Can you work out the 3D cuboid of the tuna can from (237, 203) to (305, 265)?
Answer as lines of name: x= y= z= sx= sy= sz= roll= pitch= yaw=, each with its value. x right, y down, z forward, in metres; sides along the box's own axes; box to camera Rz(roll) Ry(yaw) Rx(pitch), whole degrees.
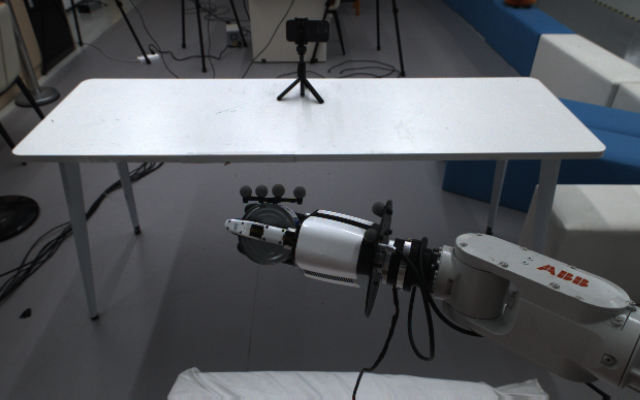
tuna can: x=-0.069 y=0.046 z=0.673 sx=0.085 sy=0.085 sz=0.034 roll=13 pitch=-3 yaw=15
